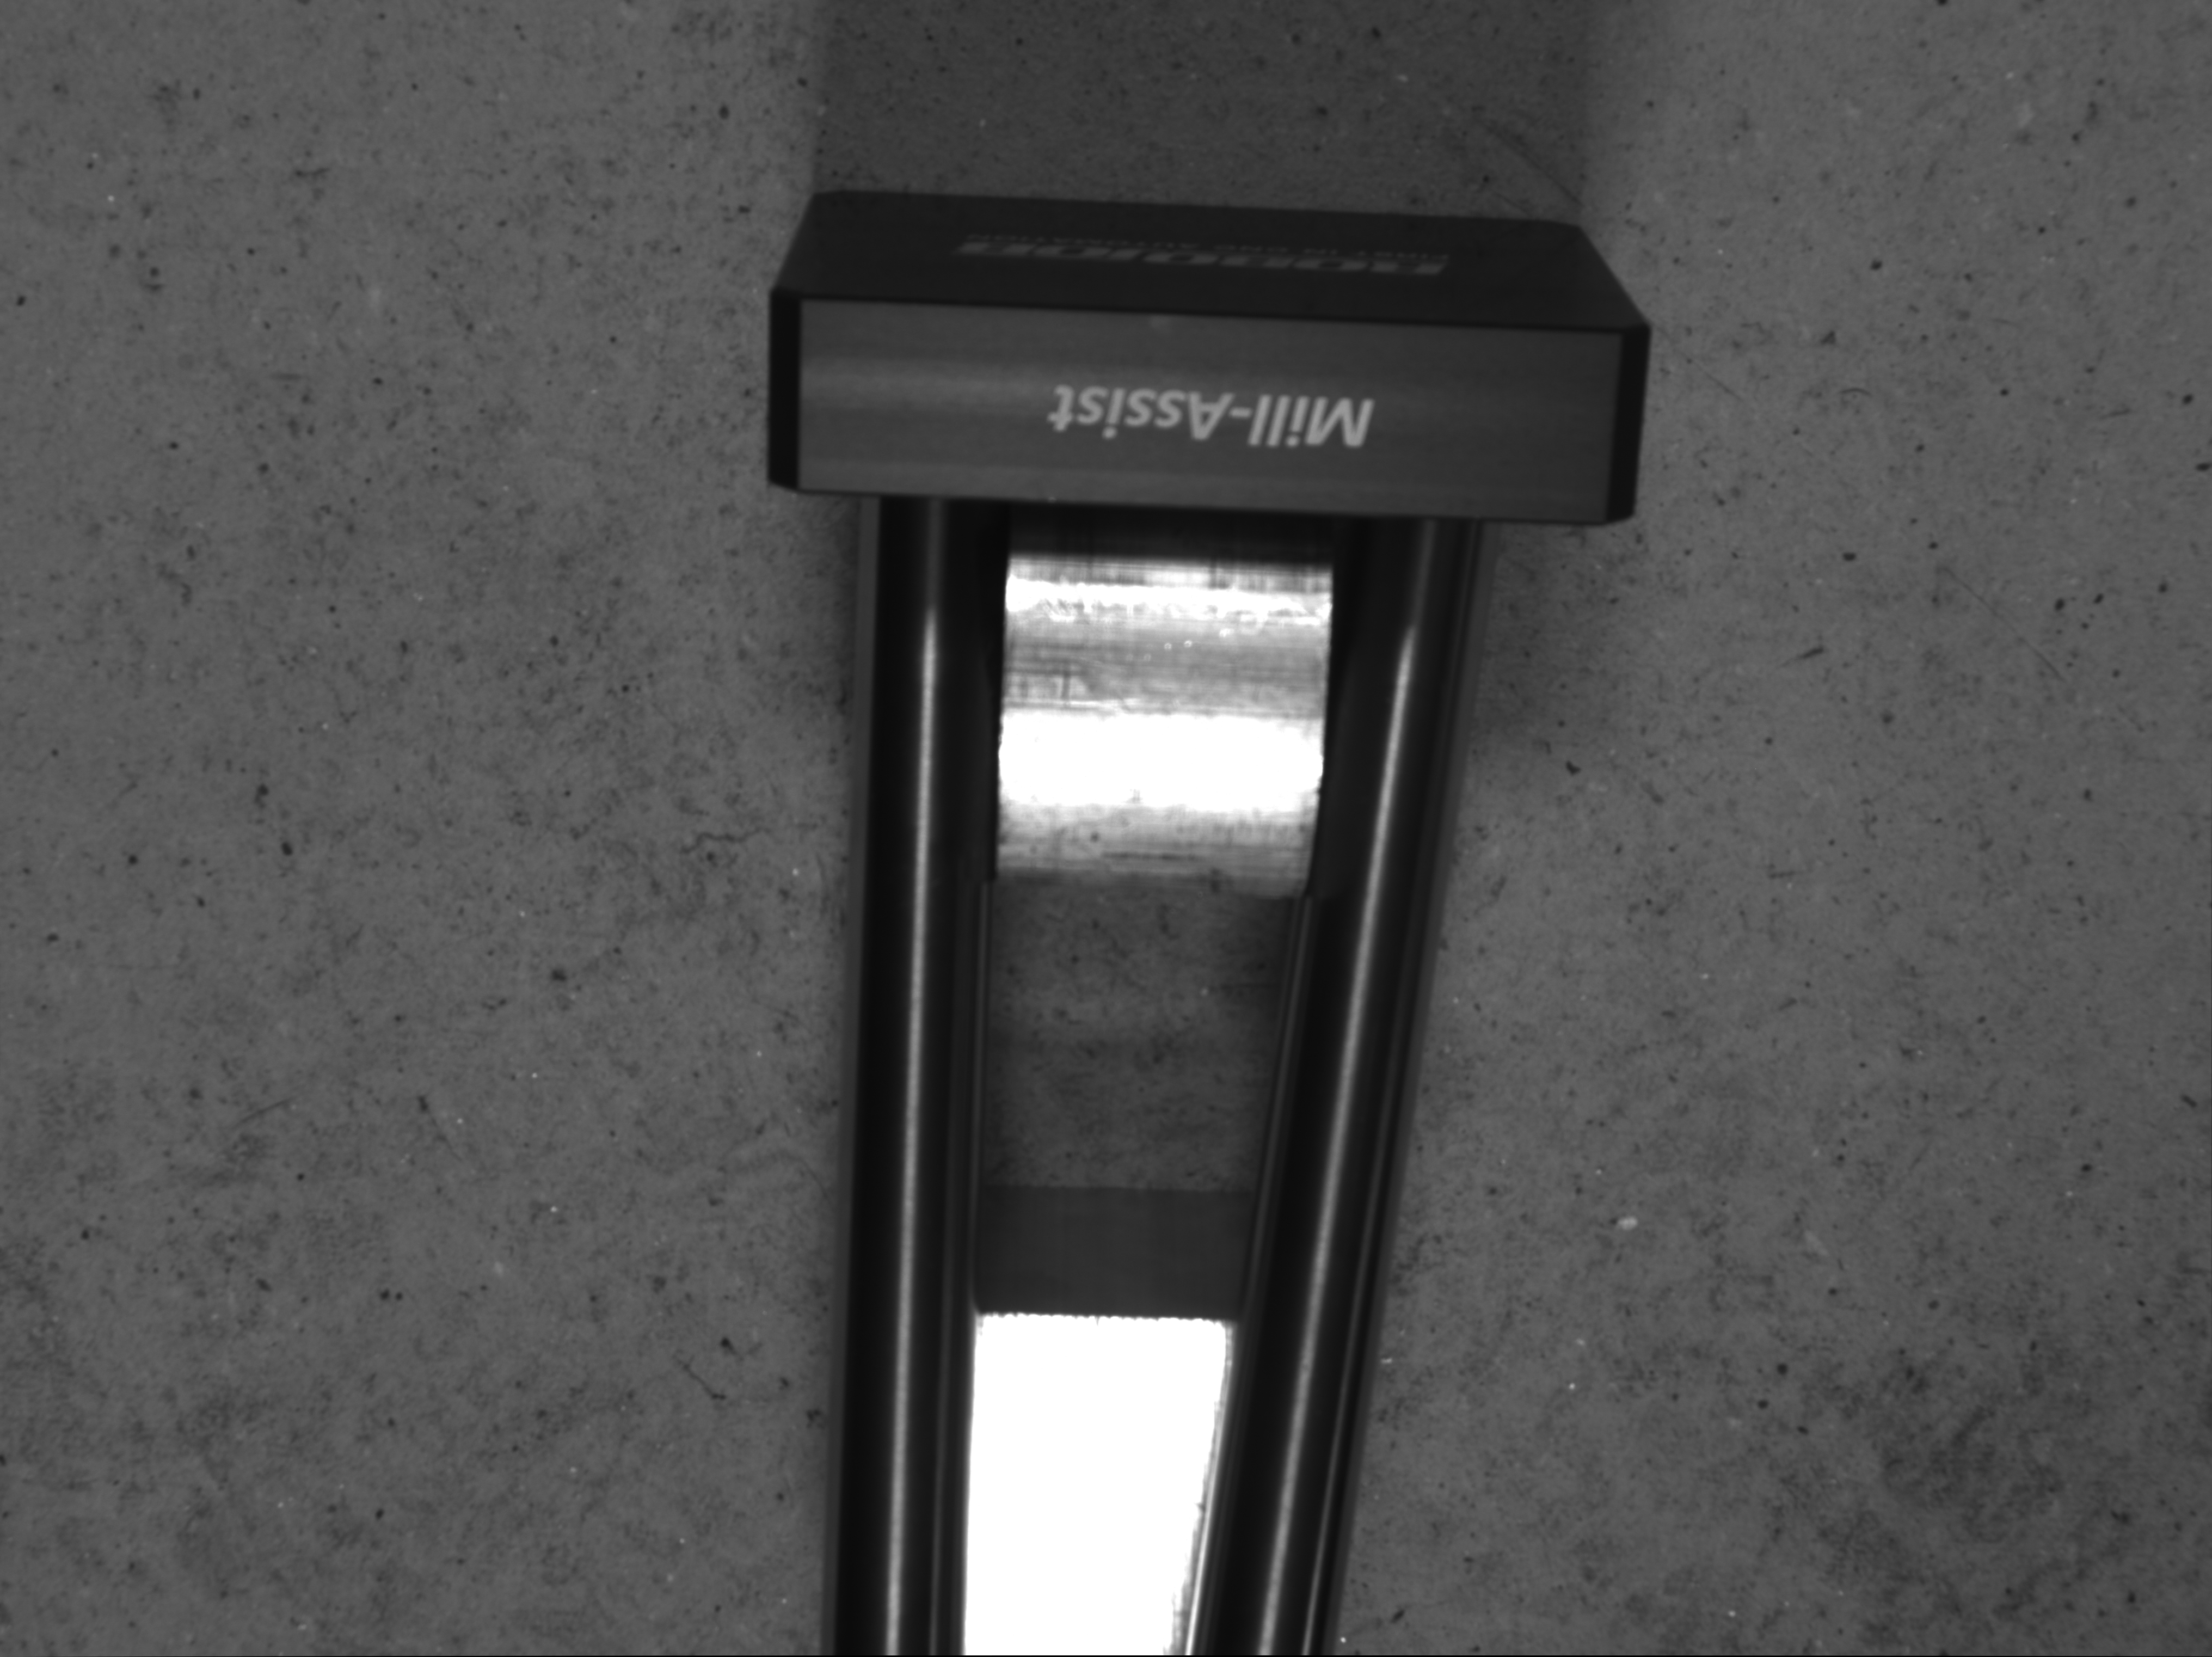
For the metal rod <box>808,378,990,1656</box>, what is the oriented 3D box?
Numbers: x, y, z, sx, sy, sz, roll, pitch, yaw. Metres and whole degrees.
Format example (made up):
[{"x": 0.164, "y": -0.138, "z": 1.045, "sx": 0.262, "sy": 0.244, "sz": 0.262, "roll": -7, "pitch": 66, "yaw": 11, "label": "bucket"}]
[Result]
[{"x": -0.036, "y": 0.064, "z": 0.618, "sx": 0.025, "sy": 0.025, "sz": 0.300, "roll": 2, "pitch": 95, "yaw": -1, "label": "metal rod"}]

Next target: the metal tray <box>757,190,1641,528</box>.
[{"x": 0.013, "y": -0.076, "z": 0.581, "sx": 0.130, "sy": 0.090, "sz": 0.030, "roll": 2, "pitch": 110, "yaw": -1, "label": "metal tray"}]

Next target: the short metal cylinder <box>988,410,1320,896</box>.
[{"x": 0.007, "y": -0.030, "z": 0.604, "sx": 0.050, "sy": 0.080, "sz": 0.080, "roll": 2, "pitch": 110, "yaw": -2, "label": "short metal cylinder"}]

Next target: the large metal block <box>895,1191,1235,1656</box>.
[{"x": -0.001, "y": 0.114, "z": 0.669, "sx": 0.080, "sy": 0.050, "sz": 0.080, "roll": 2, "pitch": 110, "yaw": -1, "label": "large metal block"}]

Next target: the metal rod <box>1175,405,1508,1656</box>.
[{"x": 0.035, "y": 0.068, "z": 0.619, "sx": 0.025, "sy": 0.025, "sz": 0.300, "roll": 8, "pitch": 95, "yaw": -3, "label": "metal rod"}]
